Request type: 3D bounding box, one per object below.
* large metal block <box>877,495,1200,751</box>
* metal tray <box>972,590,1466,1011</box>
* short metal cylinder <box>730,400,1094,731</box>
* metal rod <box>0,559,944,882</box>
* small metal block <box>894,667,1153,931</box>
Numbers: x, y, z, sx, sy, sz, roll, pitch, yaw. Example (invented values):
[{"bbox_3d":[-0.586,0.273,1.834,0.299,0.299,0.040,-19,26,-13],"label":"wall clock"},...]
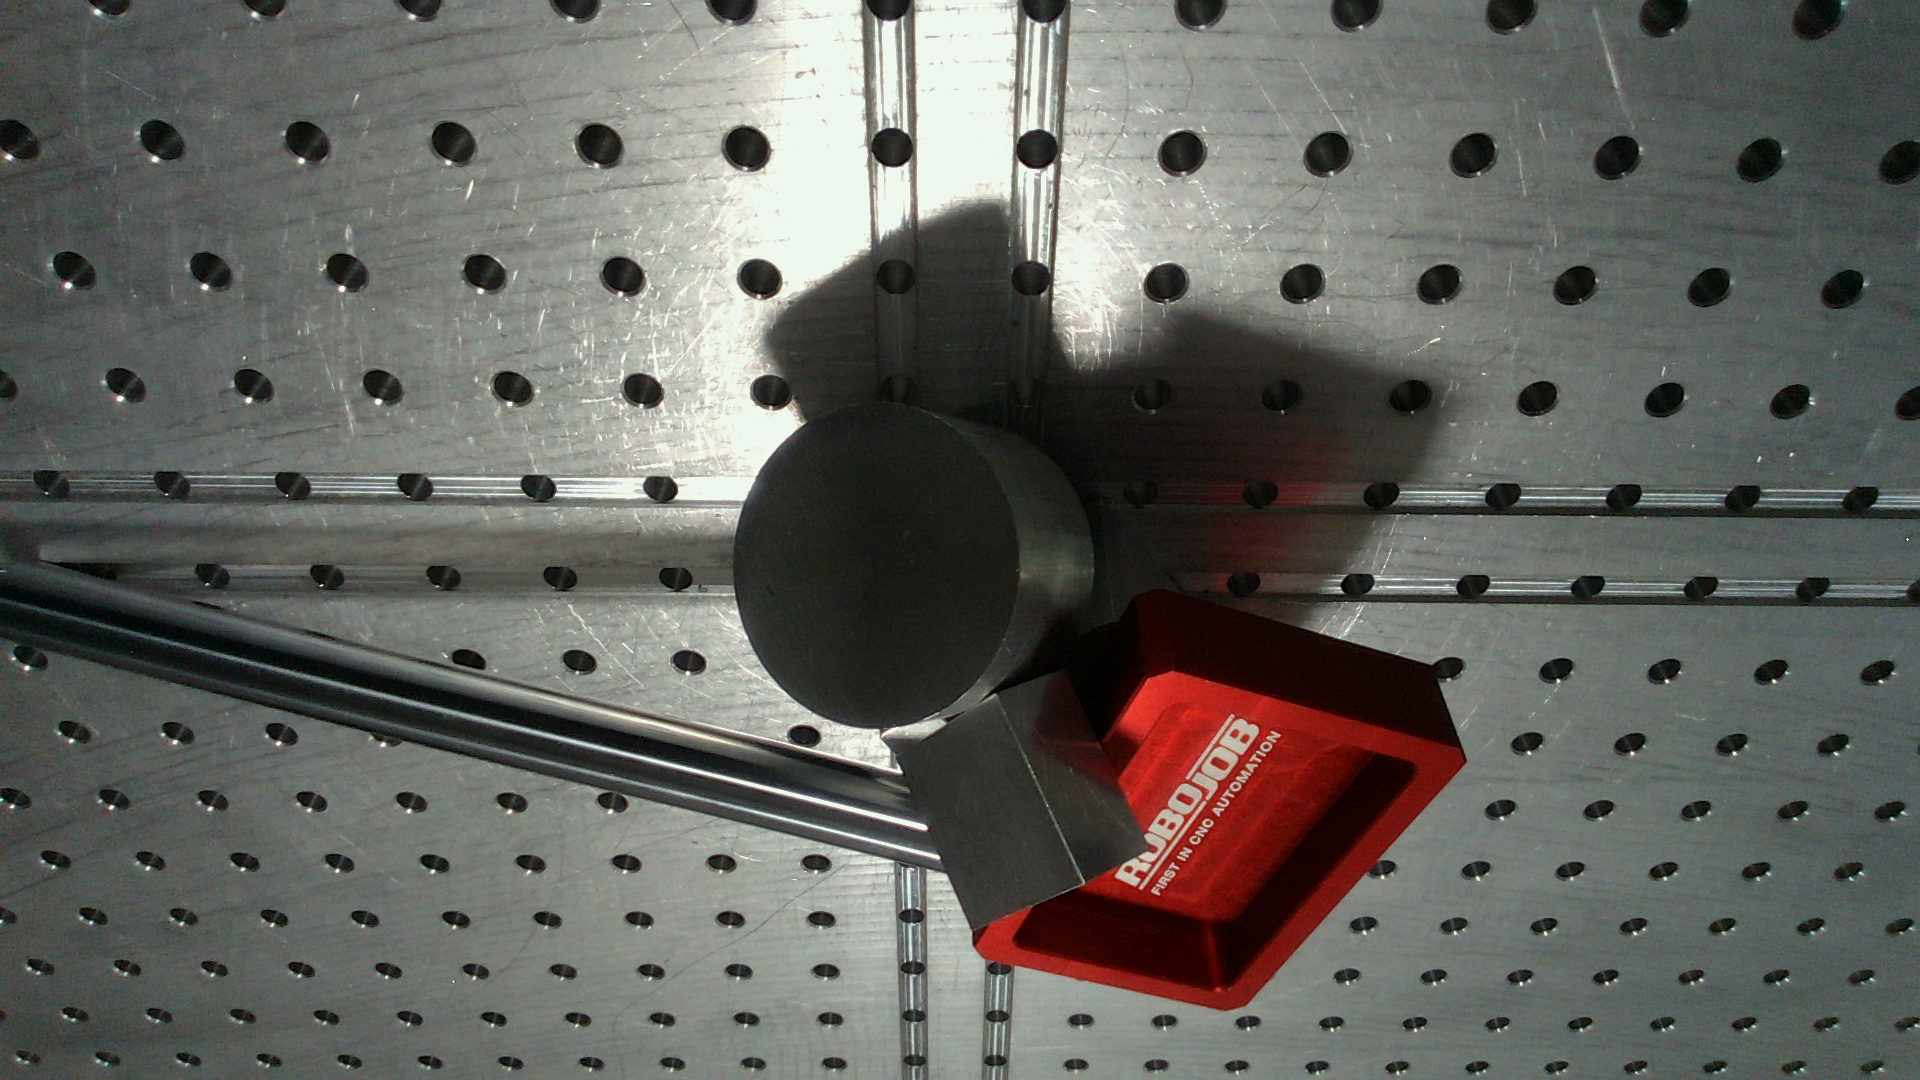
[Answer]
[{"bbox_3d":[0.031,0.046,0.414,0.080,0.050,0.080,-29,125,22],"label":"large metal block"},{"bbox_3d":[0.066,0.079,0.388,0.090,0.030,0.130,16,128,-13],"label":"metal tray"},{"bbox_3d":[-0.012,0.007,0.355,0.080,0.080,0.050,-28,167,22],"label":"short metal cylinder"},{"bbox_3d":[-0.135,0.053,0.399,0.300,0.025,0.025,13,130,3],"label":"metal rod"},{"bbox_3d":[0.015,0.068,0.356,0.025,0.050,0.050,-15,164,-40],"label":"small metal block"}]
